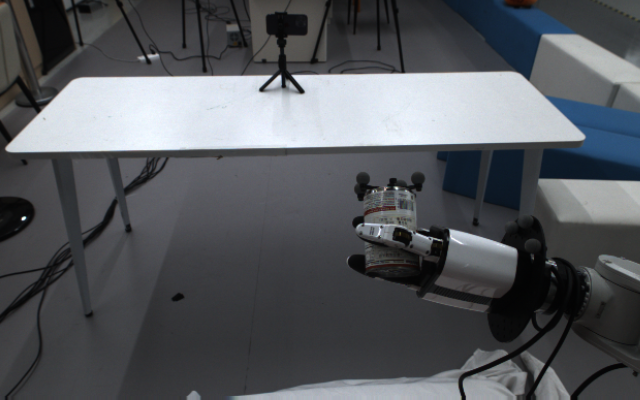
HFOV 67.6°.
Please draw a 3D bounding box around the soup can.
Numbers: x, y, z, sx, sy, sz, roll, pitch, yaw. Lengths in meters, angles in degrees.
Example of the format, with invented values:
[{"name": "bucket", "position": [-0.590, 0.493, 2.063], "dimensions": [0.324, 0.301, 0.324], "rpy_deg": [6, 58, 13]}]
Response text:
[{"name": "soup can", "position": [0.090, 0.042, 0.603], "dimensions": [0.067, 0.067, 0.101], "rpy_deg": [1, 73, -2]}]
